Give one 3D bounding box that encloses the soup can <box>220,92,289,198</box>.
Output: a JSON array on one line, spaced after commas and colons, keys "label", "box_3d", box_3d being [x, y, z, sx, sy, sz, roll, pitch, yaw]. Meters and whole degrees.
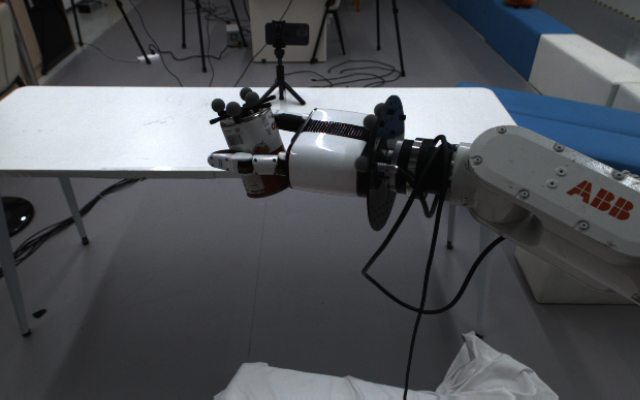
[{"label": "soup can", "box_3d": [-0.078, -0.062, 0.617, 0.067, 0.101, 0.067, -16, 23, 7]}]
